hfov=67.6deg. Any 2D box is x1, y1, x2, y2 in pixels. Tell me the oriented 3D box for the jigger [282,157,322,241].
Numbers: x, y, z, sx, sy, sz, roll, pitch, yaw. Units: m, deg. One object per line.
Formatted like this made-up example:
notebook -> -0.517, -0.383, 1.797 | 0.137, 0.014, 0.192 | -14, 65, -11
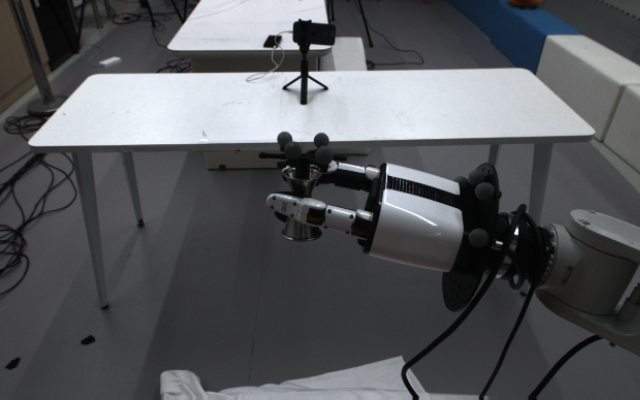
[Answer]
jigger -> -0.019, 0.004, 0.517 | 0.043, 0.071, 0.043 | 1, 20, 0
